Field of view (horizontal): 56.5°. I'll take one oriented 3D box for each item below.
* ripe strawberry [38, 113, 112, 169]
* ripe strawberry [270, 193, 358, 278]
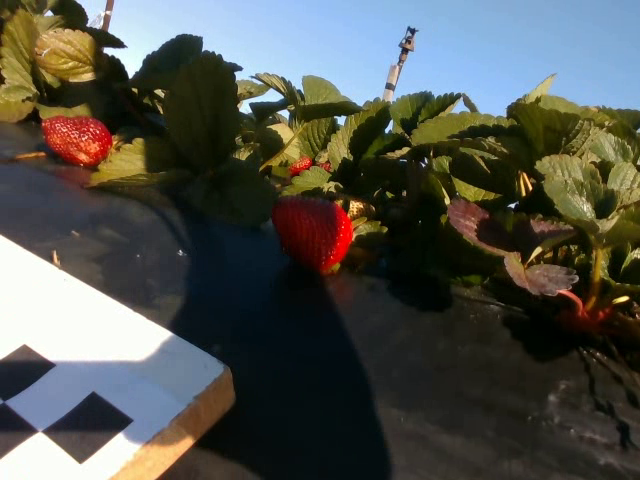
[{"bbox_3d":[-0.170,-0.070,0.409,0.041,0.043,0.053,33,4,35],"label":"ripe strawberry"},{"bbox_3d":[-0.009,-0.007,0.295,0.050,0.043,0.043,35,16,-39],"label":"ripe strawberry"}]
